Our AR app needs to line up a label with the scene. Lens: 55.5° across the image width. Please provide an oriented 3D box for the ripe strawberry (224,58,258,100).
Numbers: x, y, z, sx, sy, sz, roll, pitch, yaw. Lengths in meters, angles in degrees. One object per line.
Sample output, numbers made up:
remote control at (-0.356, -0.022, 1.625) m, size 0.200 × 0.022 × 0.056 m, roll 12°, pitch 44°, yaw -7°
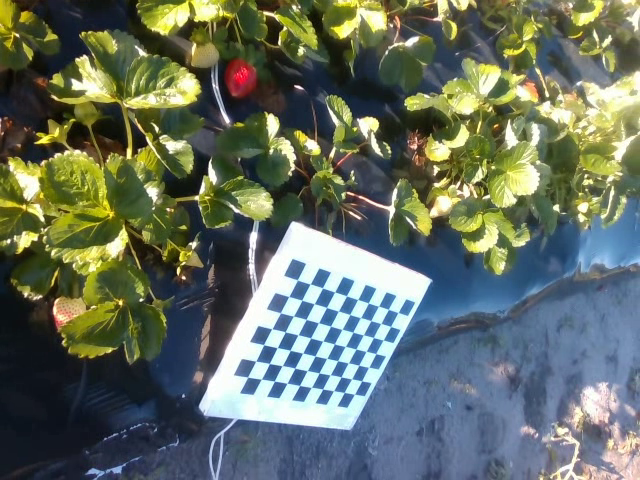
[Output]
ripe strawberry at (-0.108, -0.231, 0.869) m, size 0.040 × 0.080 × 0.063 m, roll -9°, pitch -45°, yaw 22°
